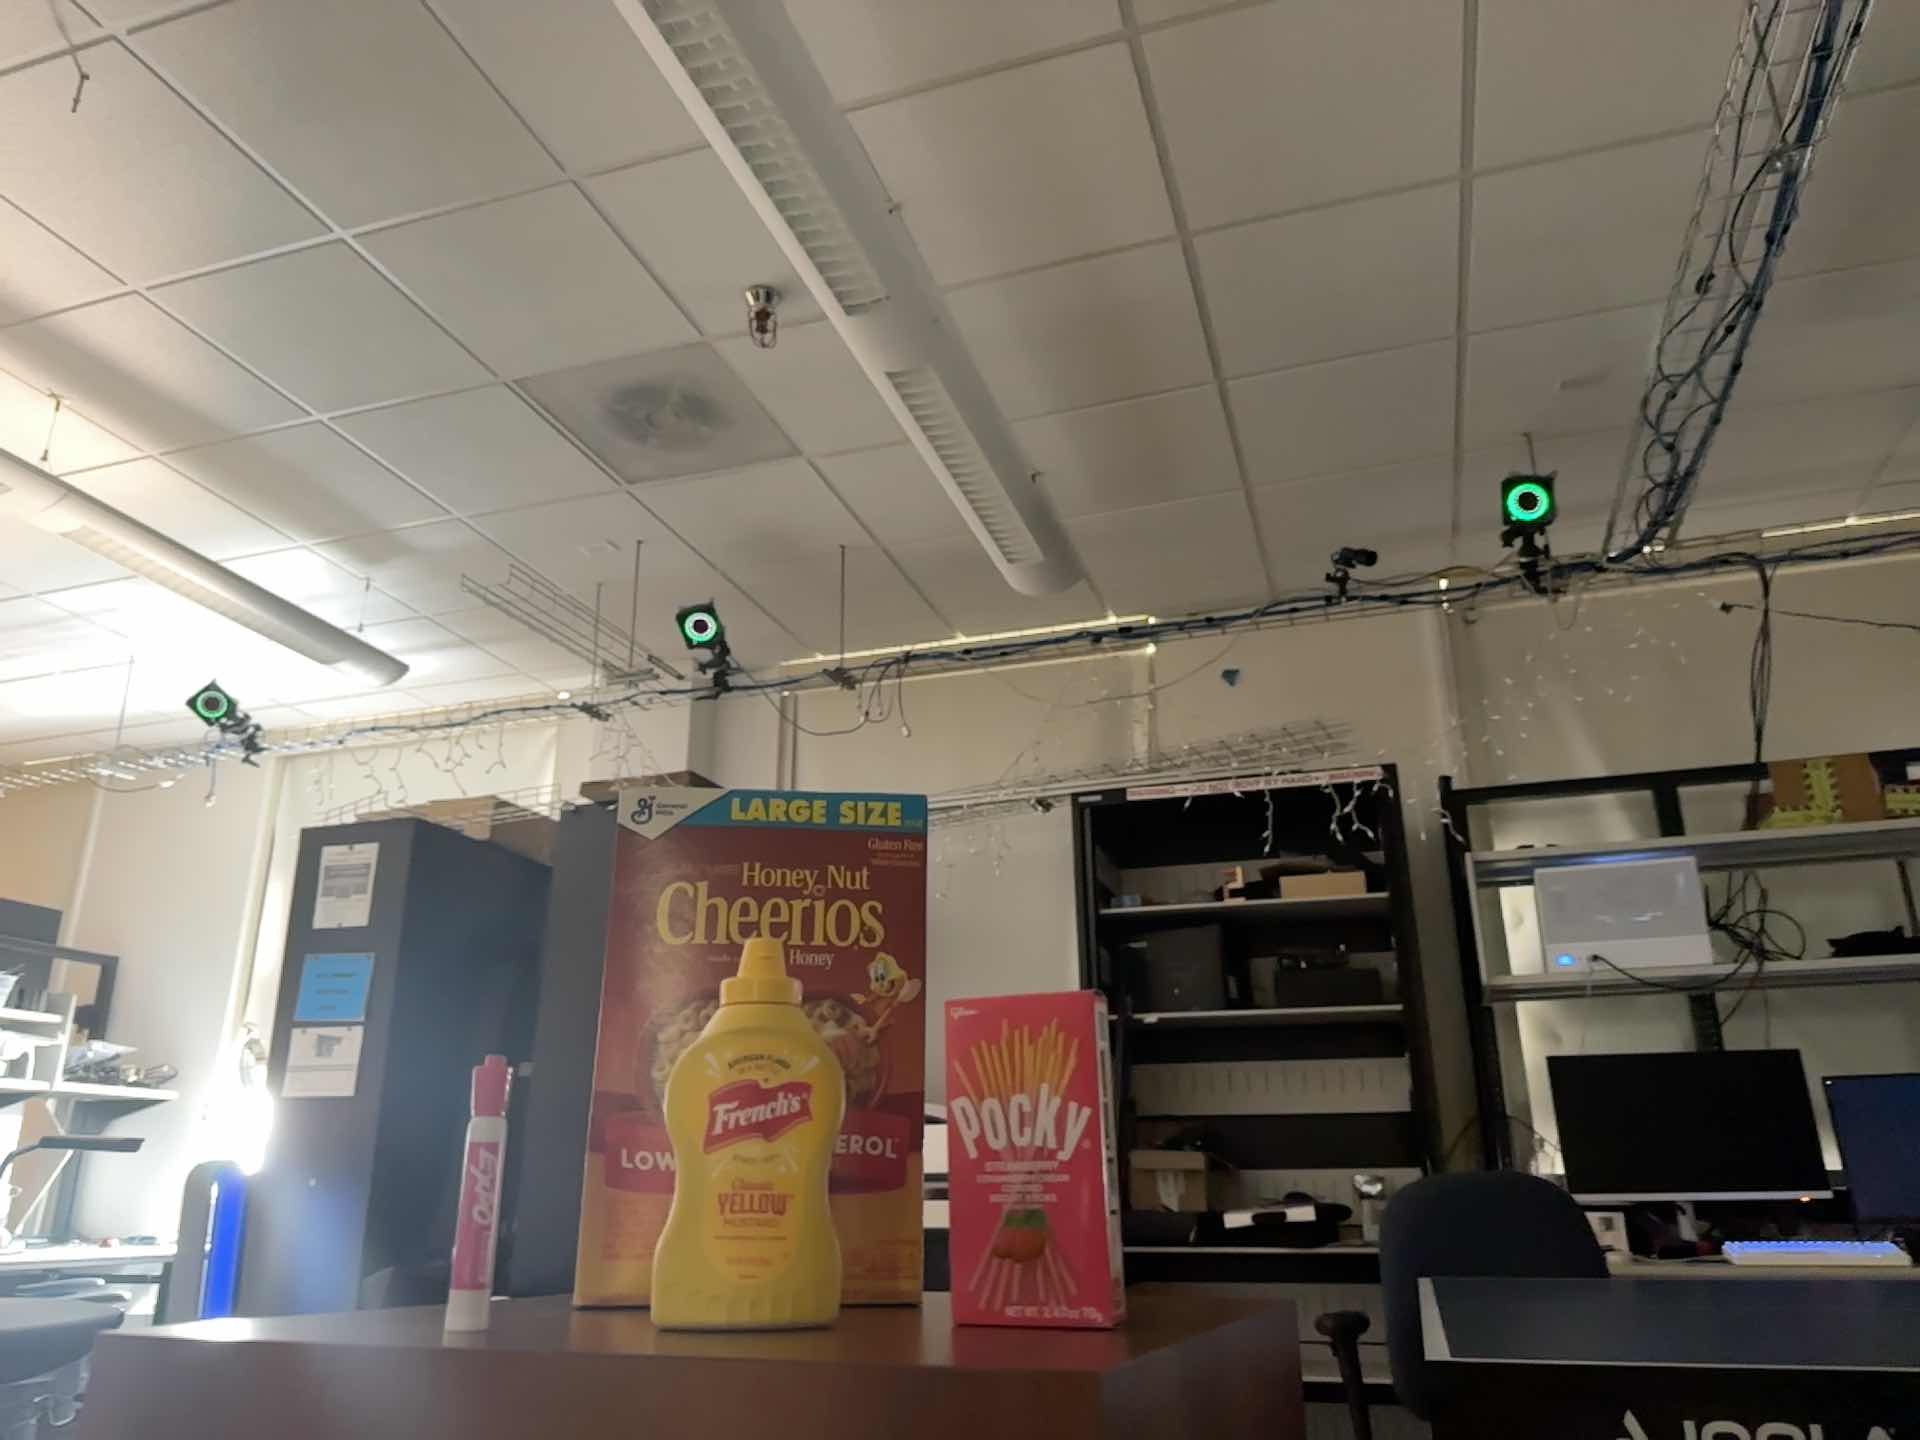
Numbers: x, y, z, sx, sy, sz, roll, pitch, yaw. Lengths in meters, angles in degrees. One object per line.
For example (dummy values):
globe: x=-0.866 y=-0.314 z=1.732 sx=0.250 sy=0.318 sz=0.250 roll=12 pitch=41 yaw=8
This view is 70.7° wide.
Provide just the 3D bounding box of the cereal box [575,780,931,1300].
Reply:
cereal box: x=-0.122 y=0.191 z=0.840 sx=0.195 sy=0.296 sz=0.065 roll=4 pitch=-19 yaw=-10

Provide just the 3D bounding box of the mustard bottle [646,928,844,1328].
mustard bottle: x=-0.103 y=0.193 z=0.659 sx=0.092 sy=0.184 sz=0.054 roll=1 pitch=-18 yaw=-6

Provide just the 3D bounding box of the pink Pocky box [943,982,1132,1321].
pink Pocky box: x=0.036 y=0.208 z=0.660 sx=0.084 sy=0.154 sz=0.029 roll=-7 pitch=-19 yaw=16

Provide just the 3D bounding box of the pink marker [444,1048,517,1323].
pink marker: x=-0.224 y=0.216 z=0.635 sx=0.020 sy=0.121 sz=0.020 roll=0 pitch=-19 yaw=0
